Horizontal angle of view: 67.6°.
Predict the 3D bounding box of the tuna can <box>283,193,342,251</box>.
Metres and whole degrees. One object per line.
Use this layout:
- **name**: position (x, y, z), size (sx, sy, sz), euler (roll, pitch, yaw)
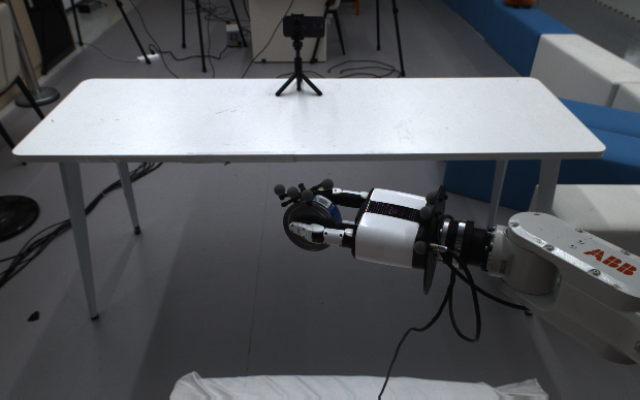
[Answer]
- **tuna can**: position (-0.009, 0.038, 0.738), size (0.085, 0.085, 0.034), euler (13, 29, 15)
